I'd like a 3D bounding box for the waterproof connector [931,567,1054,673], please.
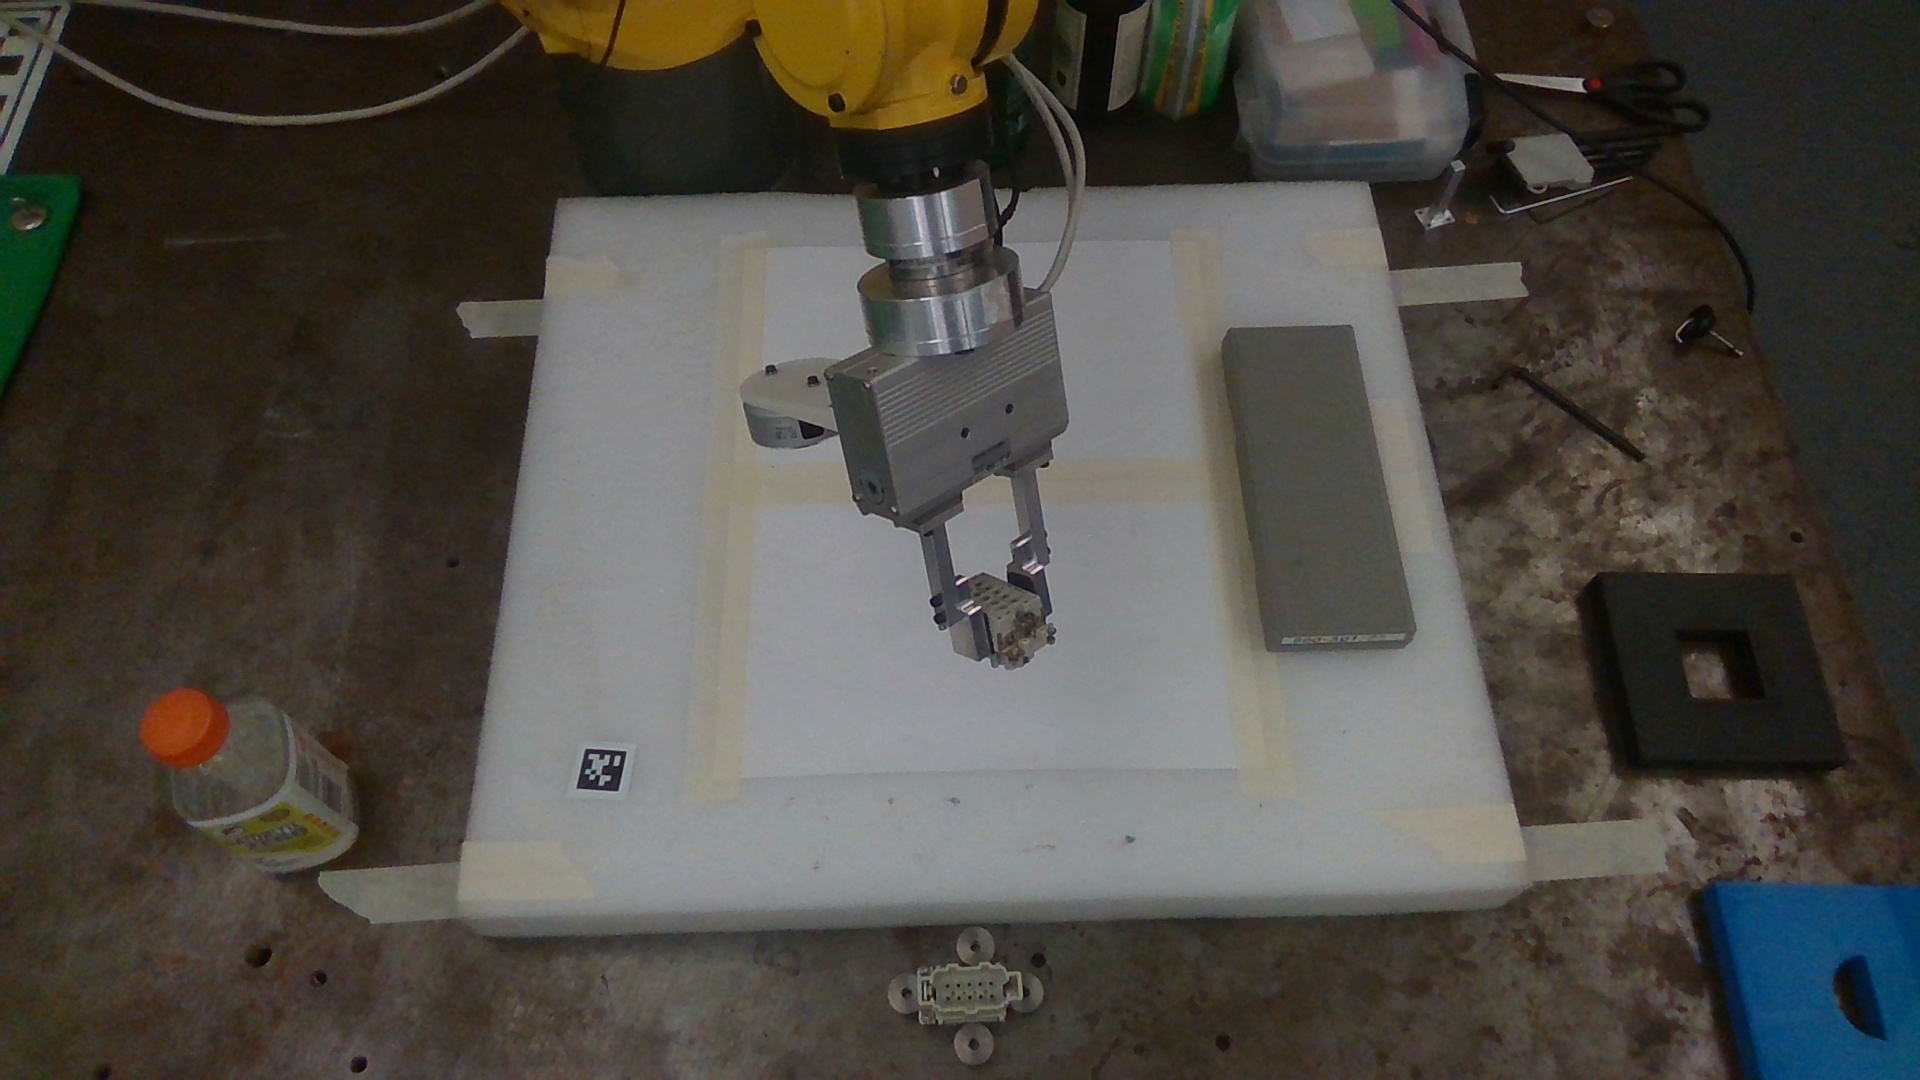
[{"bbox_3d":[0.018,0.044,0.748,0.036,0.038,0.069,-29,36,-29],"label":"waterproof connector"}]
